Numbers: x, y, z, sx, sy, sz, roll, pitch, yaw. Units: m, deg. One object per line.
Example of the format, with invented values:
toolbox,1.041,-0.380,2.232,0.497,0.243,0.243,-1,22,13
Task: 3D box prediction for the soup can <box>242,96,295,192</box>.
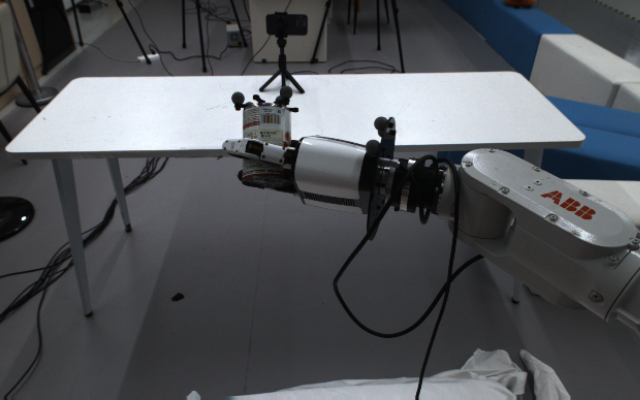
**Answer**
soup can,-0.071,-0.071,0.652,0.067,0.101,0.067,-1,-9,0
